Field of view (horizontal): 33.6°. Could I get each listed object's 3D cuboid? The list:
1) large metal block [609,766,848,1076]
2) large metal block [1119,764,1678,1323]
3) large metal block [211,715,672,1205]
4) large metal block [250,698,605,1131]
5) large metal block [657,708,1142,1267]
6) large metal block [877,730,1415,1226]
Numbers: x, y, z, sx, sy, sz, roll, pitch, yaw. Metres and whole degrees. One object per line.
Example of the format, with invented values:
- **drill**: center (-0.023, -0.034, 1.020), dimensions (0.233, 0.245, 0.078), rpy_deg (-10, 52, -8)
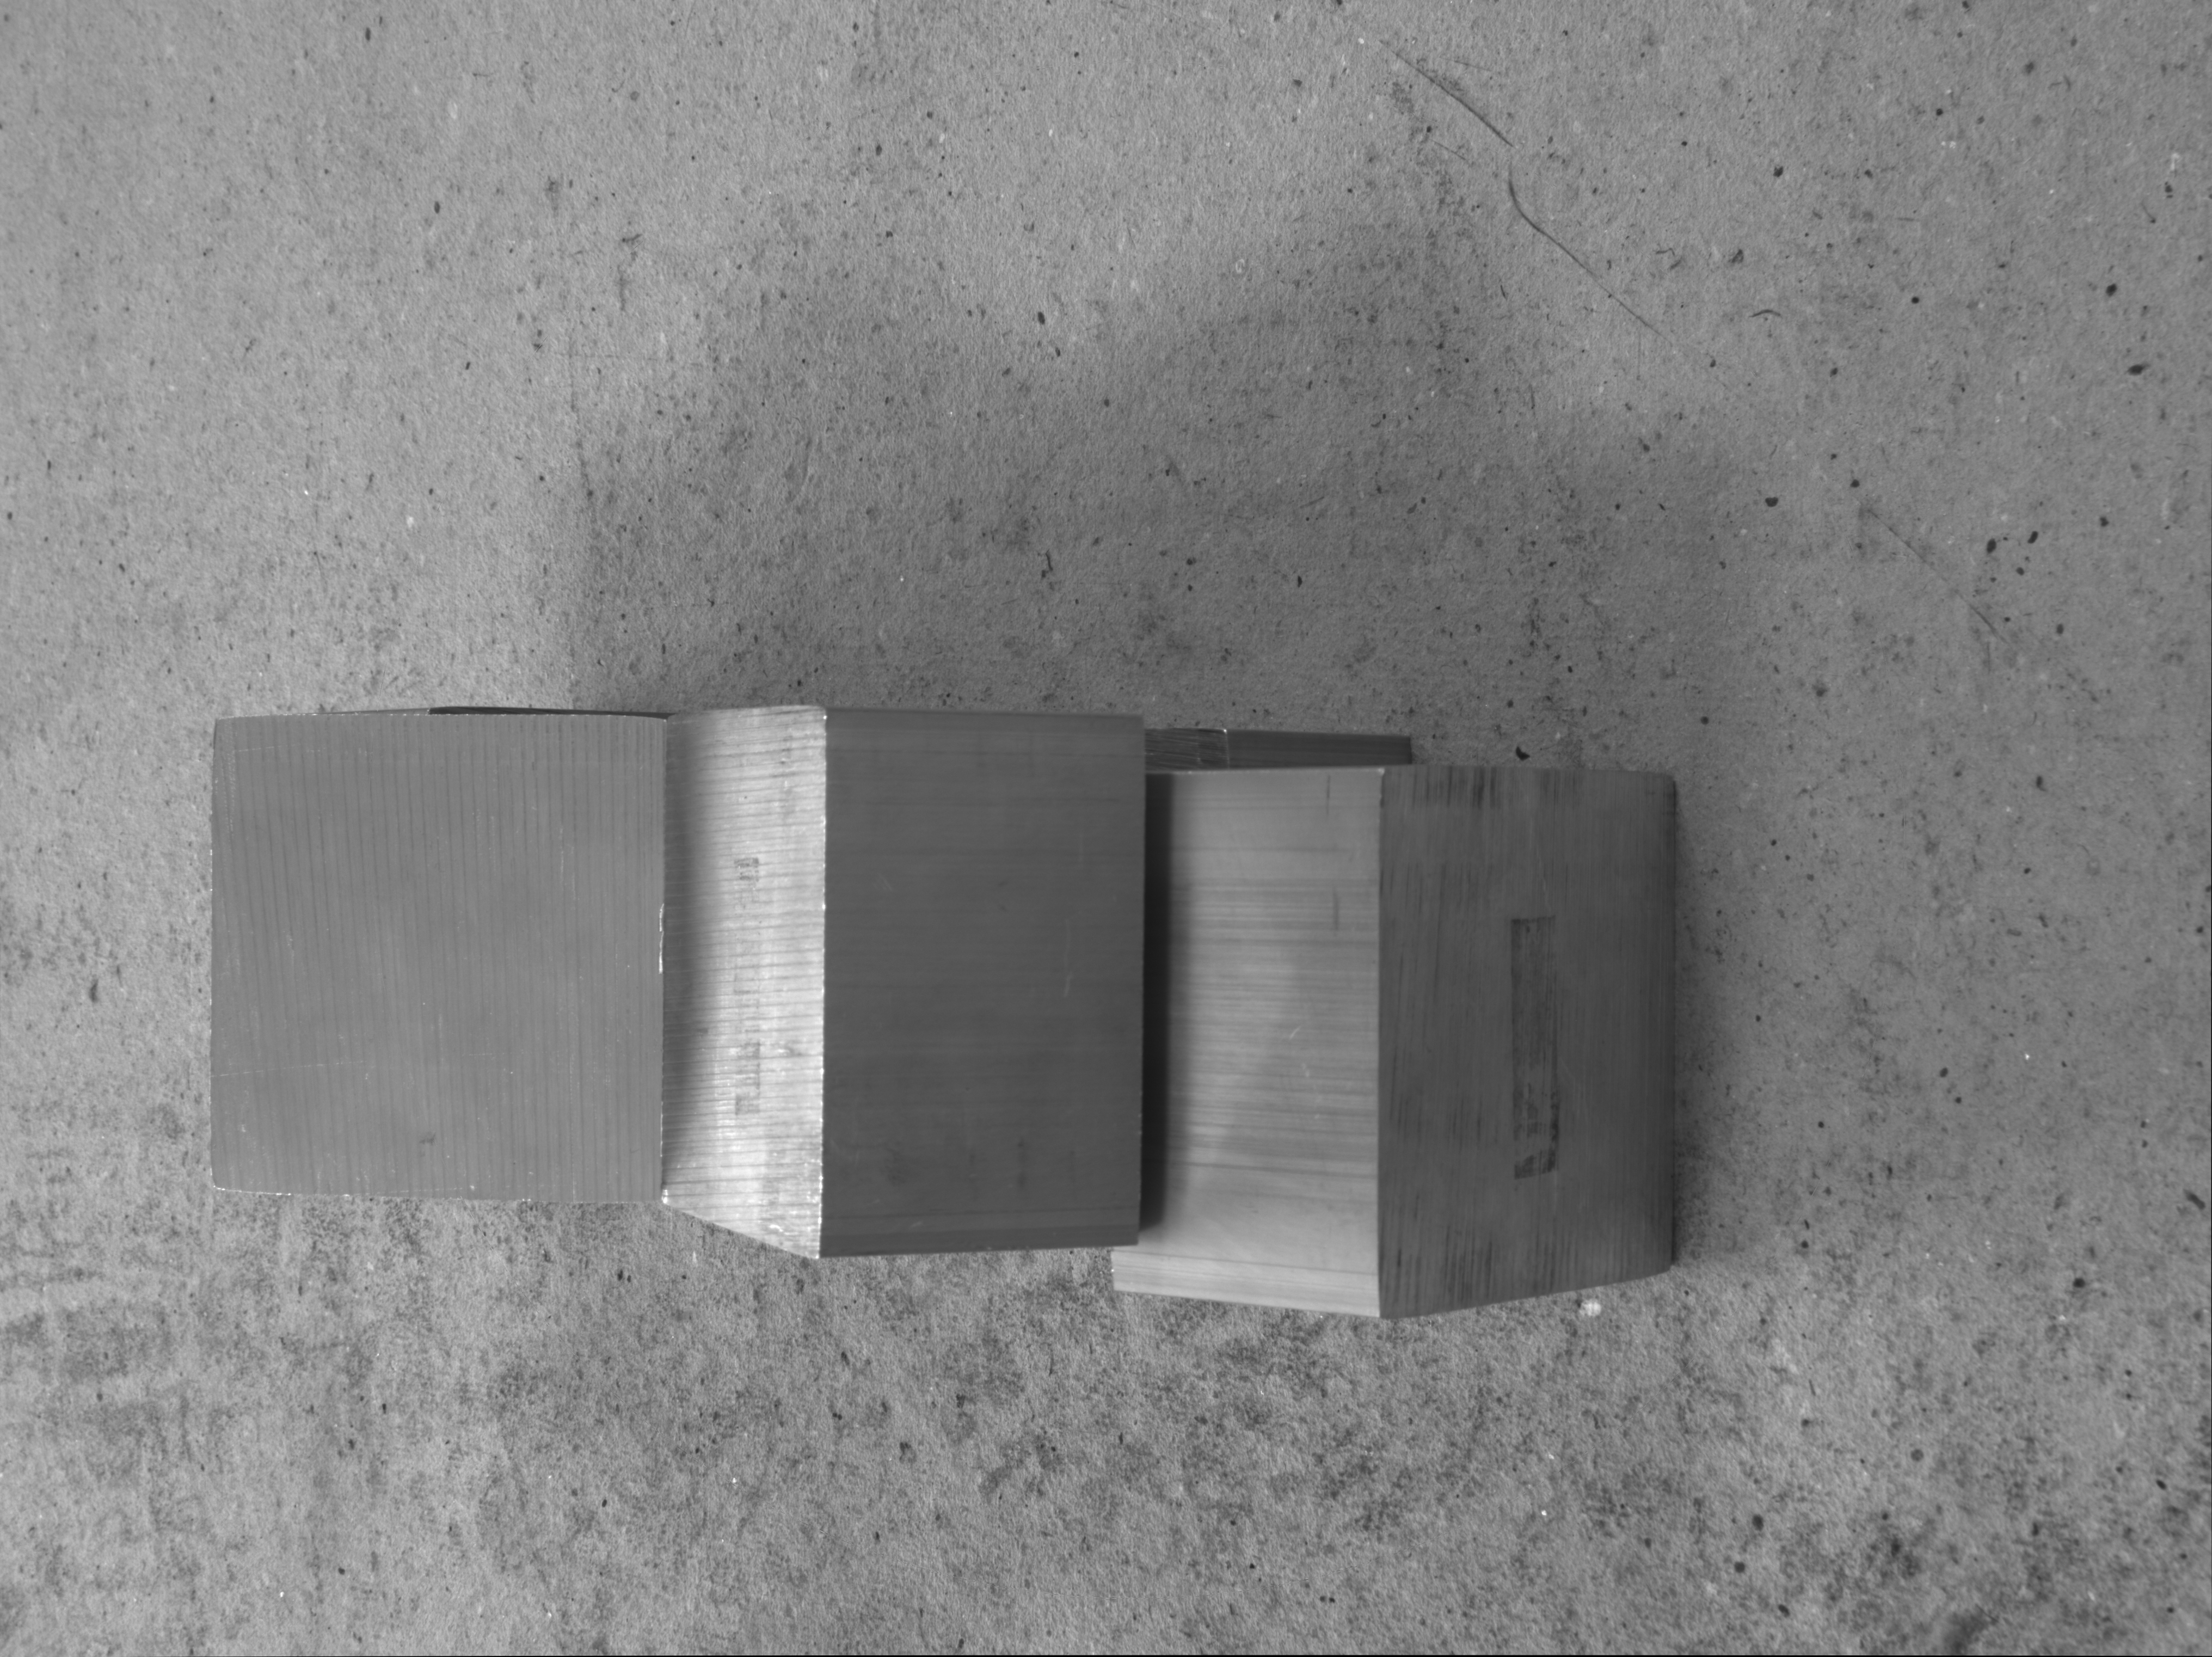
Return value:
- **large metal block**: center (-0.056, 0.022, 0.675), dimensions (0.080, 0.050, 0.080), rpy_deg (0, 90, 40)
- **large metal block**: center (0.047, 0.031, 0.571), dimensions (0.050, 0.080, 0.080), rpy_deg (0, 90, 39)
- **large metal block**: center (-0.105, 0.021, 0.631), dimensions (0.080, 0.050, 0.080), rpy_deg (0, 90, 11)
- **large metal block**: center (-0.117, 0.018, 0.707), dimensions (0.050, 0.080, 0.080), rpy_deg (-1, 88, 41)
- **large metal block**: center (-0.034, 0.023, 0.572), dimensions (0.080, 0.050, 0.080), rpy_deg (-178, 89, -67)
- **large metal block**: center (0.005, 0.025, 0.623), dimensions (0.080, 0.050, 0.080), rpy_deg (0, 90, 40)
